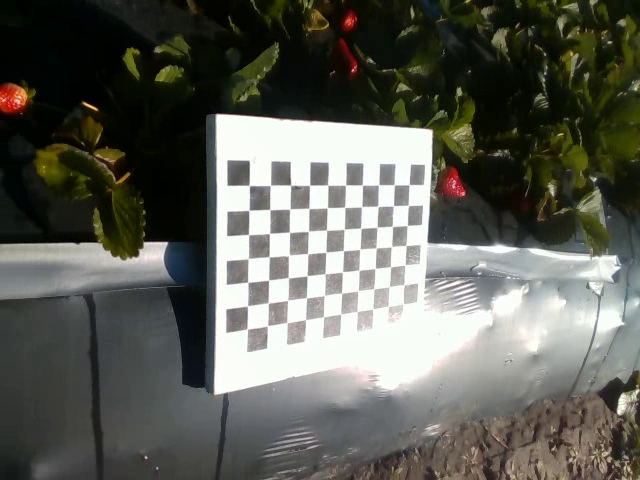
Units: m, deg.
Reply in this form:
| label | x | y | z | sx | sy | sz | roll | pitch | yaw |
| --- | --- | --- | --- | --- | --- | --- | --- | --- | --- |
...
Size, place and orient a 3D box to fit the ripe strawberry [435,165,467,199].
| label | x | y | z | sx | sy | sz | roll | pitch | yaw |
| --- | --- | --- | --- | --- | --- | --- | --- | --- | --- |
| ripe strawberry | 0.182 | -0.076 | 0.854 | 0.029 | 0.048 | 0.055 | 12 | -32 | 54 |
